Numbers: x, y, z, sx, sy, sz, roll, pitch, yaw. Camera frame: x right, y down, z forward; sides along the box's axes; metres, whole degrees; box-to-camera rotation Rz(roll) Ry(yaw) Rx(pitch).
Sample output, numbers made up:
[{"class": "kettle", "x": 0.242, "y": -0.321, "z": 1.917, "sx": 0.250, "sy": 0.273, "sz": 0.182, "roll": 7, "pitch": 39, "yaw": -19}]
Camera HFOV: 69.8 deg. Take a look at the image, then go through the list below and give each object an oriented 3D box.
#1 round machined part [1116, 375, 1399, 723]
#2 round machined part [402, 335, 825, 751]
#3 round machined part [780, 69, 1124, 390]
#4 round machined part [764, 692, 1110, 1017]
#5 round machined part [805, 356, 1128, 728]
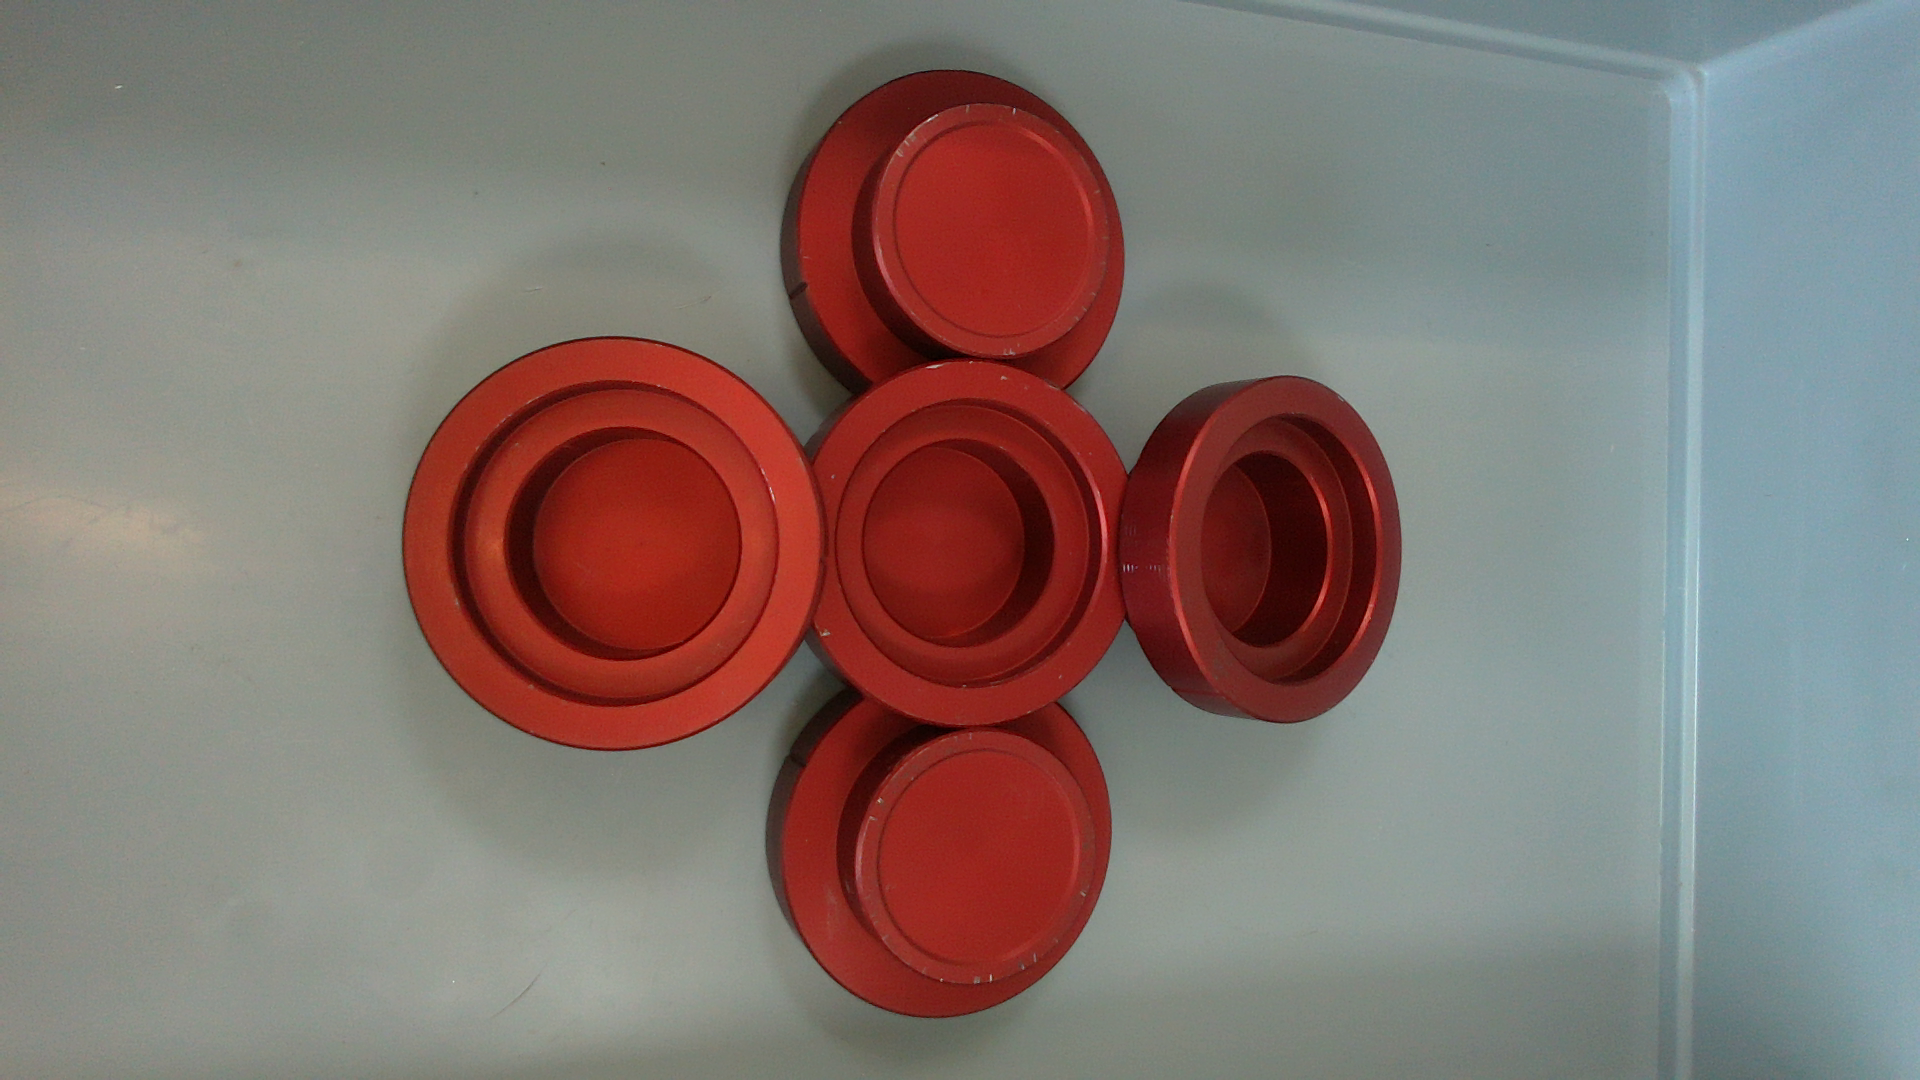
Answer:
[{"class": "round machined part", "x": 0.082, "y": 0.002, "z": 0.404, "sx": 0.098, "sy": 0.042, "sz": 0.098, "roll": 0, "pitch": 91, "yaw": -36}, {"class": "round machined part", "x": -0.083, "y": 0.001, "z": 0.344, "sx": 0.098, "sy": 0.042, "sz": 0.098, "roll": 0, "pitch": 90, "yaw": -3}, {"class": "round machined part", "x": 0.002, "y": -0.082, "z": 0.383, "sx": 0.098, "sy": 0.042, "sz": 0.098, "roll": 0, "pitch": 90, "yaw": -20}, {"class": "round machined part", "x": -0.002, "y": 0.084, "z": 0.383, "sx": 0.098, "sy": 0.042, "sz": 0.098, "roll": 0, "pitch": 90, "yaw": -20}, {"class": "round machined part", "x": -0.003, "y": 0.001, "z": 0.381, "sx": 0.098, "sy": 0.042, "sz": 0.098, "roll": 0, "pitch": 90, "yaw": -20}]
